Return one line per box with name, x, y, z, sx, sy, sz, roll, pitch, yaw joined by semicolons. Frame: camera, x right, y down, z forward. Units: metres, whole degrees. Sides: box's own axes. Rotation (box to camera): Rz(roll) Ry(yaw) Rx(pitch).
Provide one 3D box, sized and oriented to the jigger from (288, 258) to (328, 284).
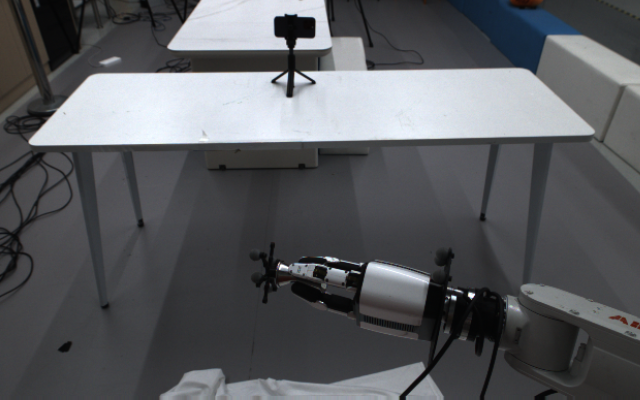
jigger;-0.018;0.104;0.696;0.071;0.043;0.043;2;34;14
